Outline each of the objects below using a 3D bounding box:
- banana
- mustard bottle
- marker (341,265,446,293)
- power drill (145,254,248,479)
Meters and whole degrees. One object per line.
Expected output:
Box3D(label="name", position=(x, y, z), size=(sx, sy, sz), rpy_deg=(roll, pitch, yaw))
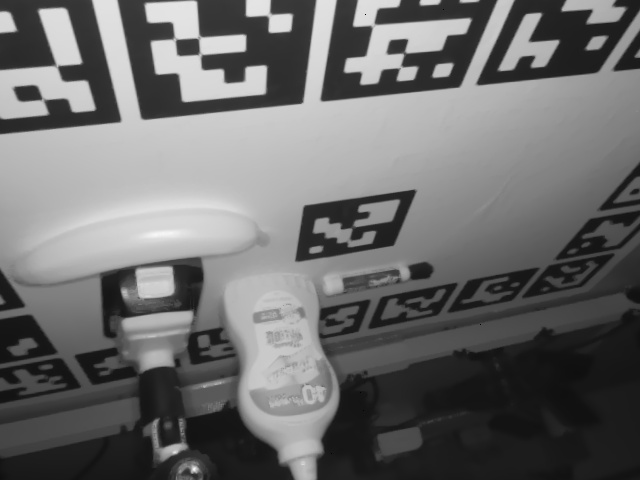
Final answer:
Box3D(label="banana", position=(-0.112, -0.019, 0.580), size=(0.200, 0.039, 0.073), rpy_deg=(-4, 143, -22))
Box3D(label="mustard bottle", position=(-0.019, 0.121, 0.681), size=(0.097, 0.192, 0.057), rpy_deg=(1, 143, -22))
Box3D(label="marker", position=(0.083, 0.042, 0.768), size=(0.122, 0.020, 0.019), rpy_deg=(-6, 144, -16))
Box3D(label="power drill", position=(-0.110, 0.110, 0.594), size=(0.058, 0.188, 0.181), rpy_deg=(3, 145, -23))
